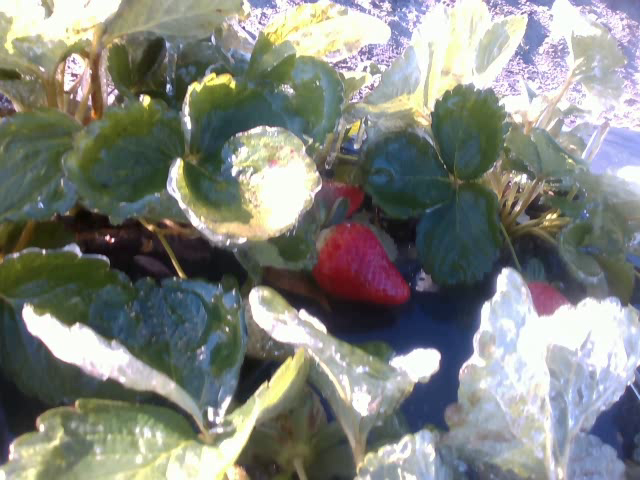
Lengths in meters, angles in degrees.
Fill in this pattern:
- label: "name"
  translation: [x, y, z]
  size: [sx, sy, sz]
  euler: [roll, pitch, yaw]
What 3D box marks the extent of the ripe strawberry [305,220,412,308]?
- label: "ripe strawberry"
  translation: [0.026, 0.013, 0.294]
  size: [0.044, 0.056, 0.040]
  euler: [-50, 0, -41]
